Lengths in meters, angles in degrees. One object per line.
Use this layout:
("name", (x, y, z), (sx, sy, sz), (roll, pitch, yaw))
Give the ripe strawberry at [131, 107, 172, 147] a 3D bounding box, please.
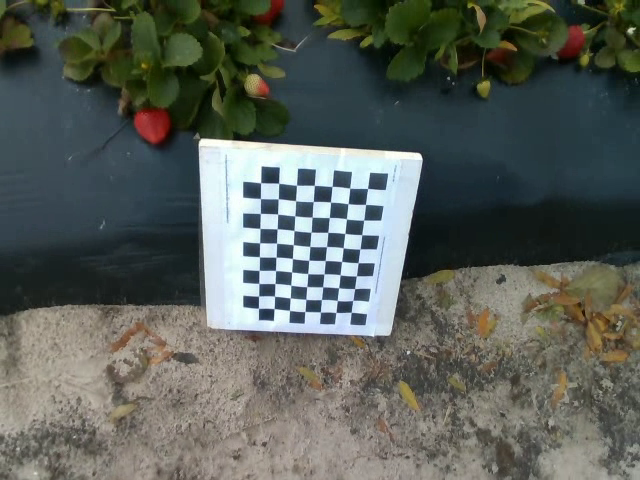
("ripe strawberry", (-0.171, -0.111, 0.576), (0.037, 0.046, 0.037), (-34, -24, 25))
